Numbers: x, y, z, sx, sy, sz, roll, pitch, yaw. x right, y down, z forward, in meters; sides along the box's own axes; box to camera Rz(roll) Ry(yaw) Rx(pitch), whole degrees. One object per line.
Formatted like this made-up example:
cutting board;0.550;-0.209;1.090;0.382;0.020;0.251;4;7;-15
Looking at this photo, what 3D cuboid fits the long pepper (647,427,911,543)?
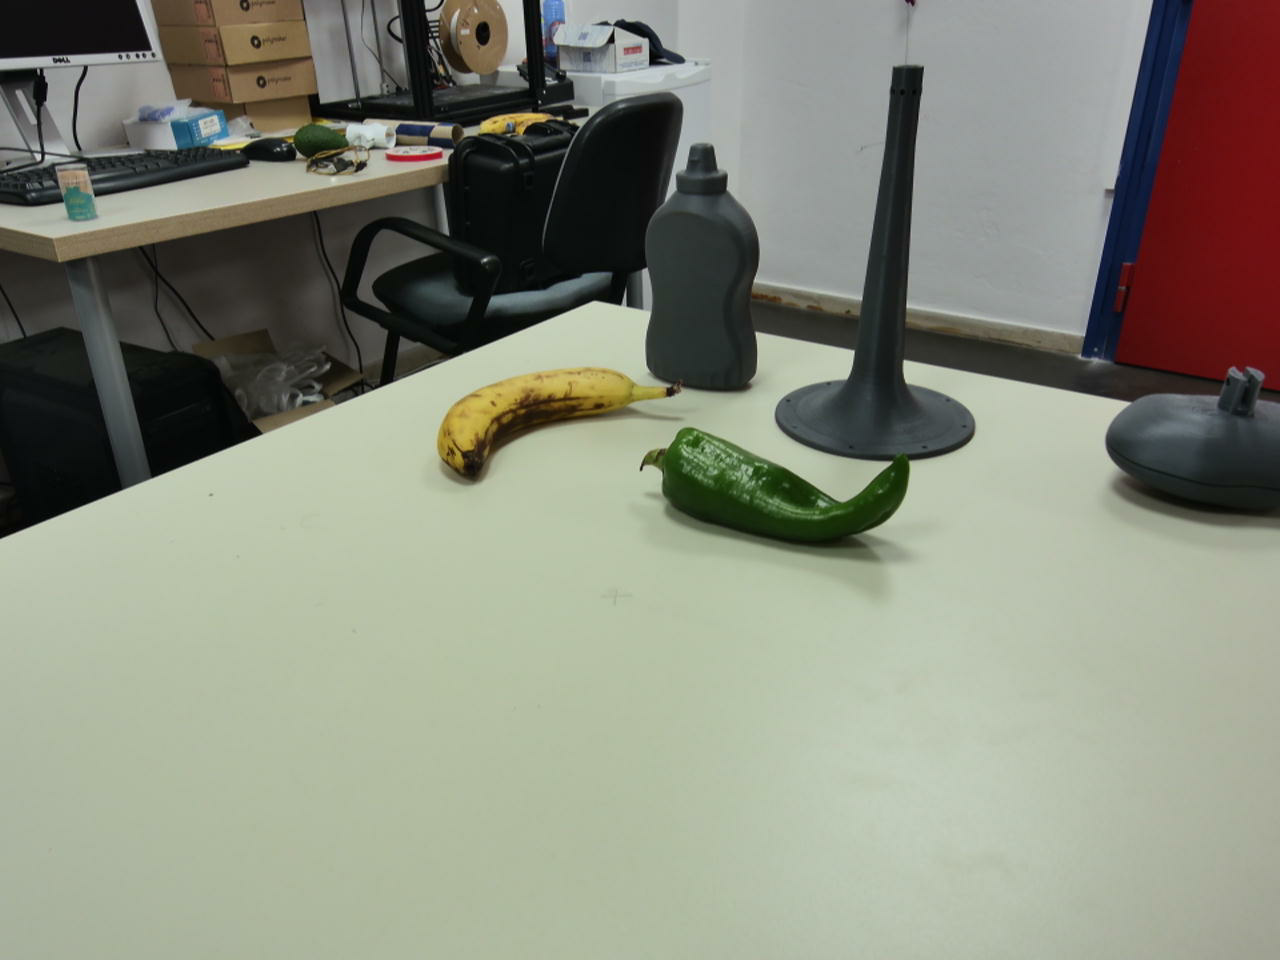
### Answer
long pepper;0.077;-0.001;0.618;0.175;0.065;0.058;15;29;31
